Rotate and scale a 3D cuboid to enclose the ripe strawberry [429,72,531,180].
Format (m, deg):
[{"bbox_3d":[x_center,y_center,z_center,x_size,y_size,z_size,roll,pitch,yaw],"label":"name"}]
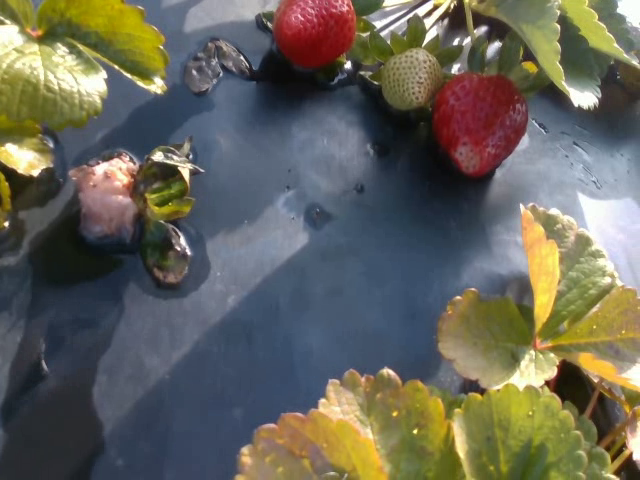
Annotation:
[{"bbox_3d":[0.073,-0.052,0.292,0.048,0.065,0.050,-1,-34,34],"label":"ripe strawberry"}]
